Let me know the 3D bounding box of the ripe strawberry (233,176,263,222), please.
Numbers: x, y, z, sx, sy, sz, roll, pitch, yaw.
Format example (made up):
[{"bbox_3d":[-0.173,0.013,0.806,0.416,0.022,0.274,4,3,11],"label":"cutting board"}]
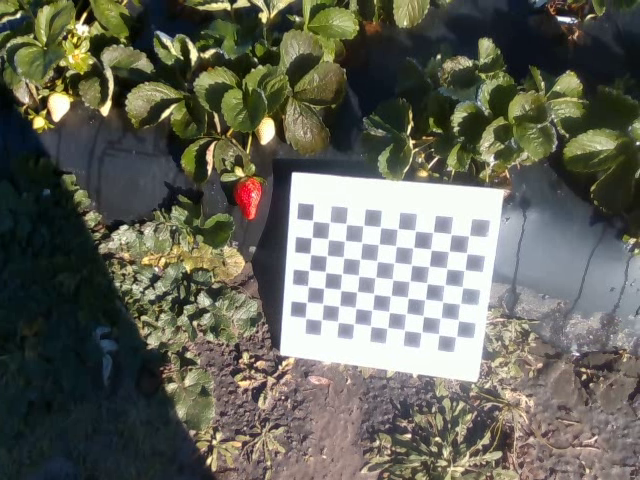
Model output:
[{"bbox_3d":[-0.103,-0.059,0.864,0.048,0.069,0.040,-12,1,13],"label":"ripe strawberry"}]
